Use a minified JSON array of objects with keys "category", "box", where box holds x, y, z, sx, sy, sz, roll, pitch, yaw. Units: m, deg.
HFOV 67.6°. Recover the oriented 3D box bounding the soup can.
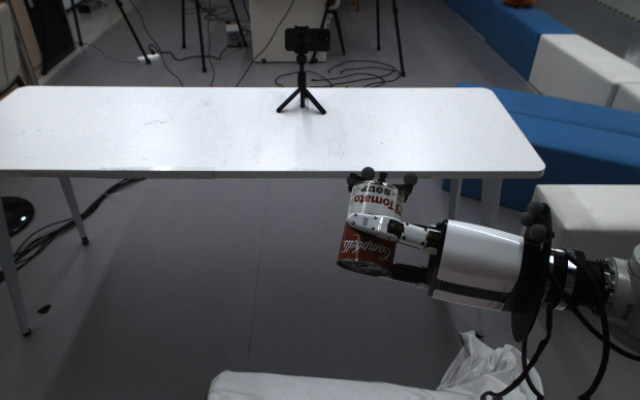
[{"category":"soup can","box":[0.065,0.034,0.591,0.067,0.067,0.101,9,72,10]}]
